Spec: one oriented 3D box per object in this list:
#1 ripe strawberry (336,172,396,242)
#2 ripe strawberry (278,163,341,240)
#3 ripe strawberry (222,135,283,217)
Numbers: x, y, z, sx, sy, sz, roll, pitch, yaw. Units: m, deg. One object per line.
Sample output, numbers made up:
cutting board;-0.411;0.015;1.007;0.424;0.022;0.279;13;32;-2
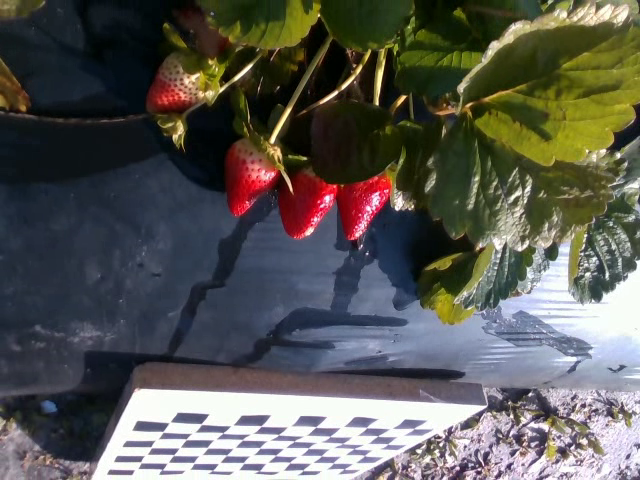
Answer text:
ripe strawberry;0.019;-0.016;0.306;0.035;0.041;0.033;8;2;-17
ripe strawberry;-0.007;-0.018;0.294;0.030;0.039;0.036;18;-16;-28
ripe strawberry;-0.034;-0.028;0.289;0.031;0.046;0.023;11;37;-20
